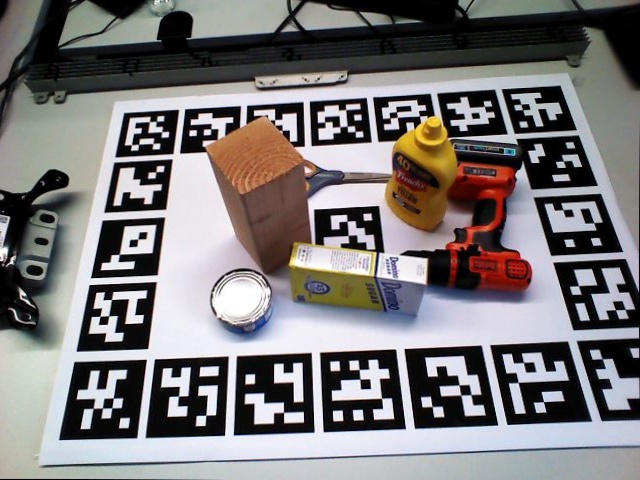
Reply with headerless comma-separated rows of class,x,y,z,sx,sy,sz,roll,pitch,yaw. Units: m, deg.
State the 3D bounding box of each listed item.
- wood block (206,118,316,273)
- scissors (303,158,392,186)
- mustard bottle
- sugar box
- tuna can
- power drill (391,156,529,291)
wood block,-0.071,-0.051,0.689,0.091,0.207,0.090,-29,65,-11
scissors,0.011,-0.103,0.807,0.203,0.016,0.087,-2,58,3
mustard bottle,0.147,-0.095,0.703,0.058,0.192,0.096,-40,68,-16
sugar box,0.060,0.052,0.680,0.177,0.093,0.045,8,59,6
tuna can,-0.104,0.080,0.704,0.086,0.034,0.085,-1,63,2
power drill,0.200,-0.025,0.728,0.185,0.057,0.186,8,70,9
